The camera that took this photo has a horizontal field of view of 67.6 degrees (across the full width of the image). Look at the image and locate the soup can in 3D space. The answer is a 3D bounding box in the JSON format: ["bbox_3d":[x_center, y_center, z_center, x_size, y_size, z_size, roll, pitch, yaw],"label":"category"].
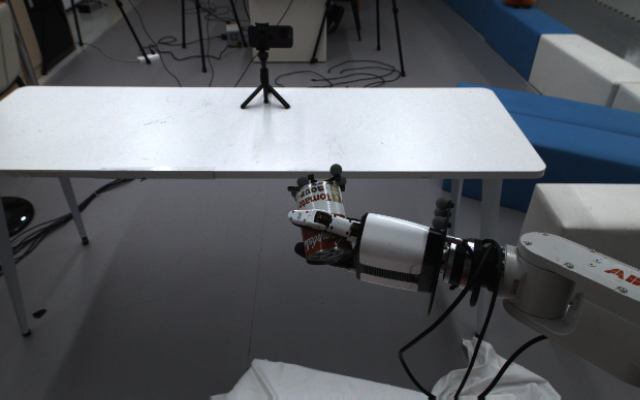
[{"bbox_3d":[0.007,0.034,0.682,0.067,0.067,0.101,-6,67,-12],"label":"soup can"}]
